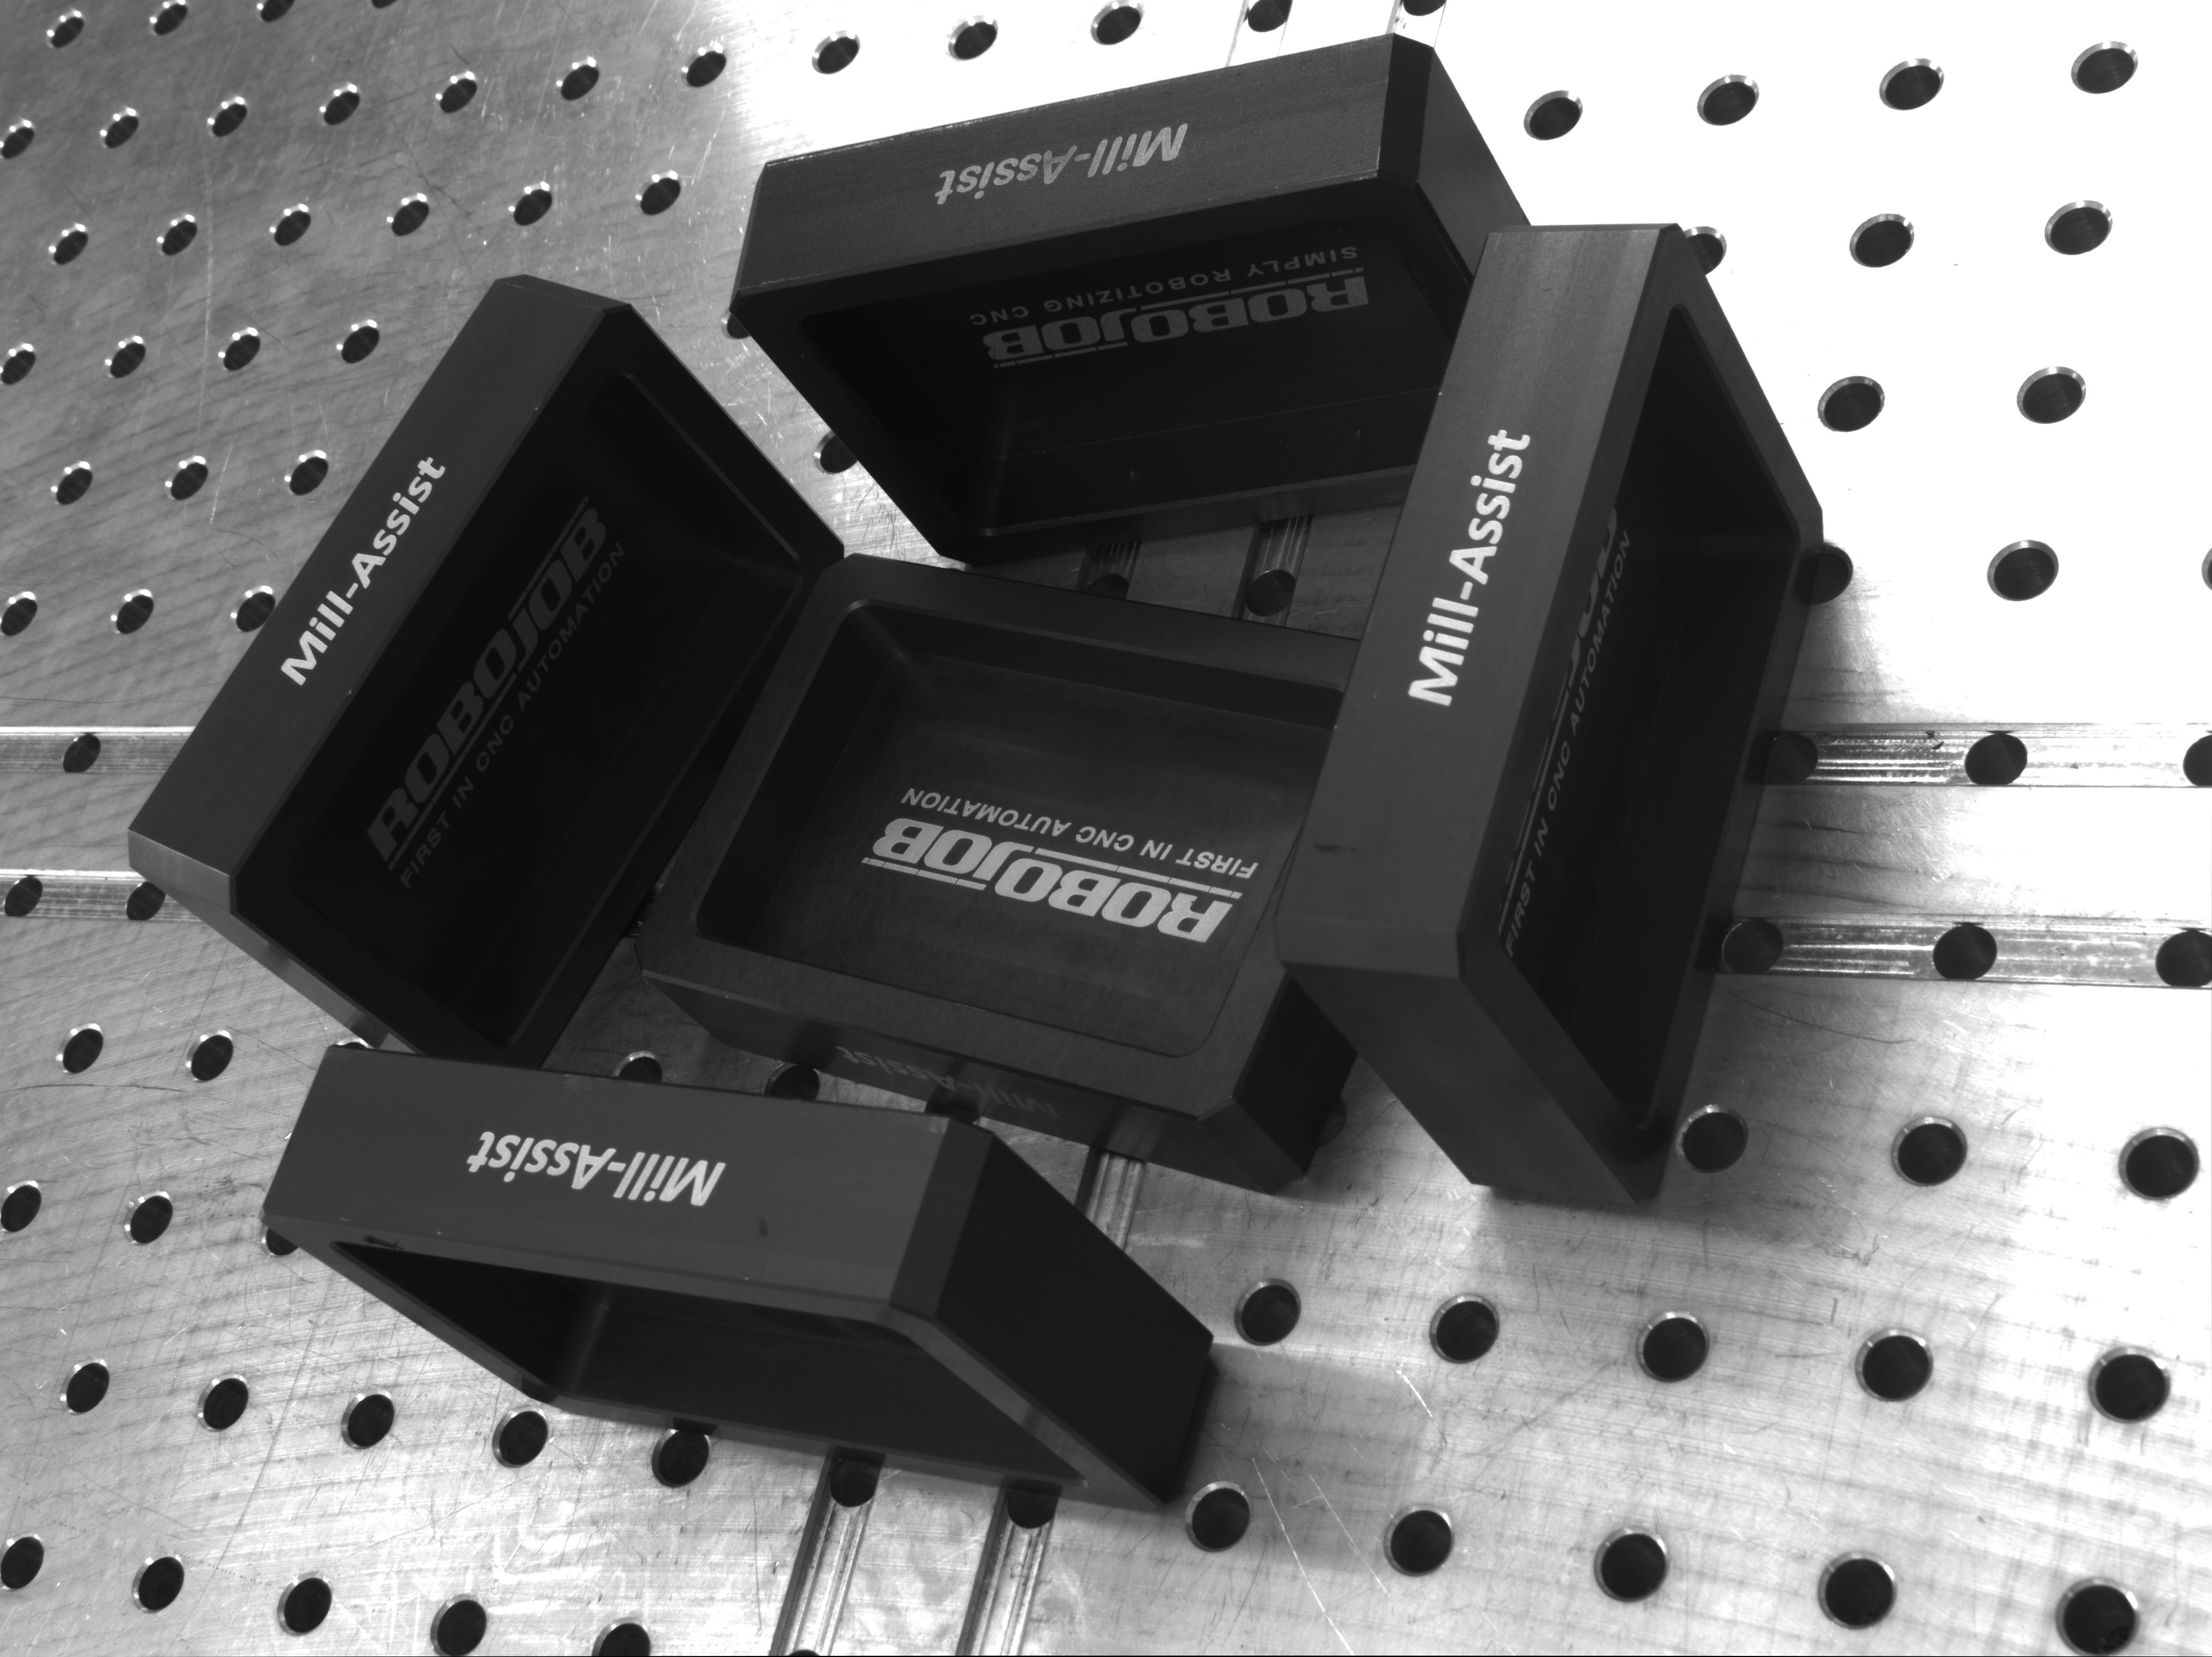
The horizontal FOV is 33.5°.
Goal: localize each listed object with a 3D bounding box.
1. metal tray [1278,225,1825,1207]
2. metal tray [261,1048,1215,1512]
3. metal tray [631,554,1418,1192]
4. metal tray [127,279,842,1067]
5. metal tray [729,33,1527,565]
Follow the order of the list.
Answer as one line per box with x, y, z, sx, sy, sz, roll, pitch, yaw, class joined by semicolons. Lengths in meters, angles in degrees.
0.074;-0.018;0.577;0.030;0.090;0.130;5;64;30;metal tray
-0.059;0.073;0.594;0.130;0.090;0.030;4;63;31;metal tray
-0.010;0.005;0.647;0.130;0.030;0.090;12;68;33;metal tray
-0.111;-0.024;0.682;0.030;0.090;0.130;20;72;36;metal tray
0.011;-0.091;0.656;0.130;0.090;0.030;-6;59;25;metal tray
